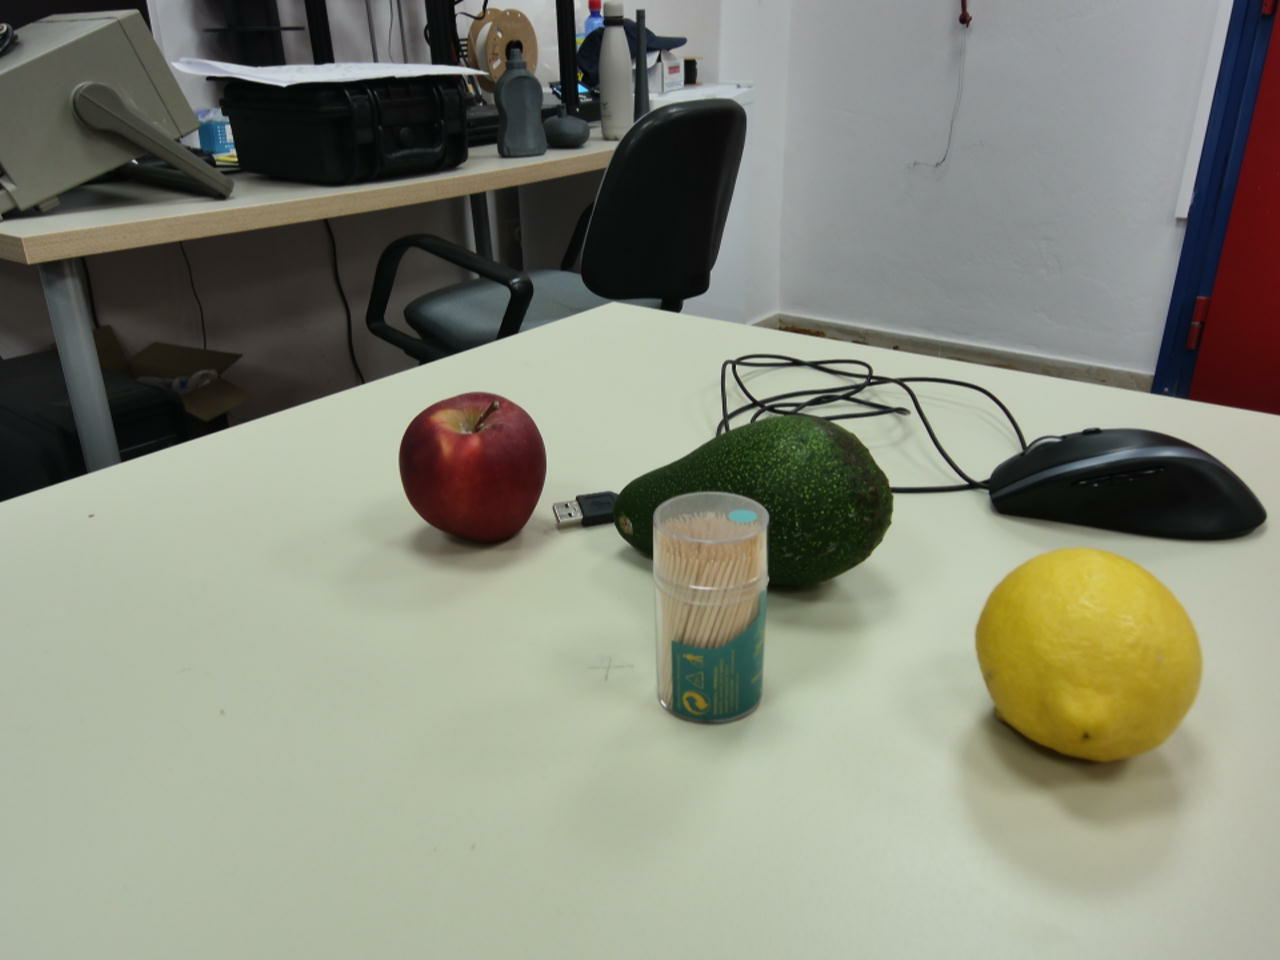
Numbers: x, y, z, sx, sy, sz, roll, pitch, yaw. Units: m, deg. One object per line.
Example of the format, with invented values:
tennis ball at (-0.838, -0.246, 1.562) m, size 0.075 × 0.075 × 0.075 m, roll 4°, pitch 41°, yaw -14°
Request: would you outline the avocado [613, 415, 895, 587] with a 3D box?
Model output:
avocado at (0.053, 0.006, 0.438) m, size 0.074 × 0.076 × 0.123 m, roll -21°, pitch 30°, yaw -41°
